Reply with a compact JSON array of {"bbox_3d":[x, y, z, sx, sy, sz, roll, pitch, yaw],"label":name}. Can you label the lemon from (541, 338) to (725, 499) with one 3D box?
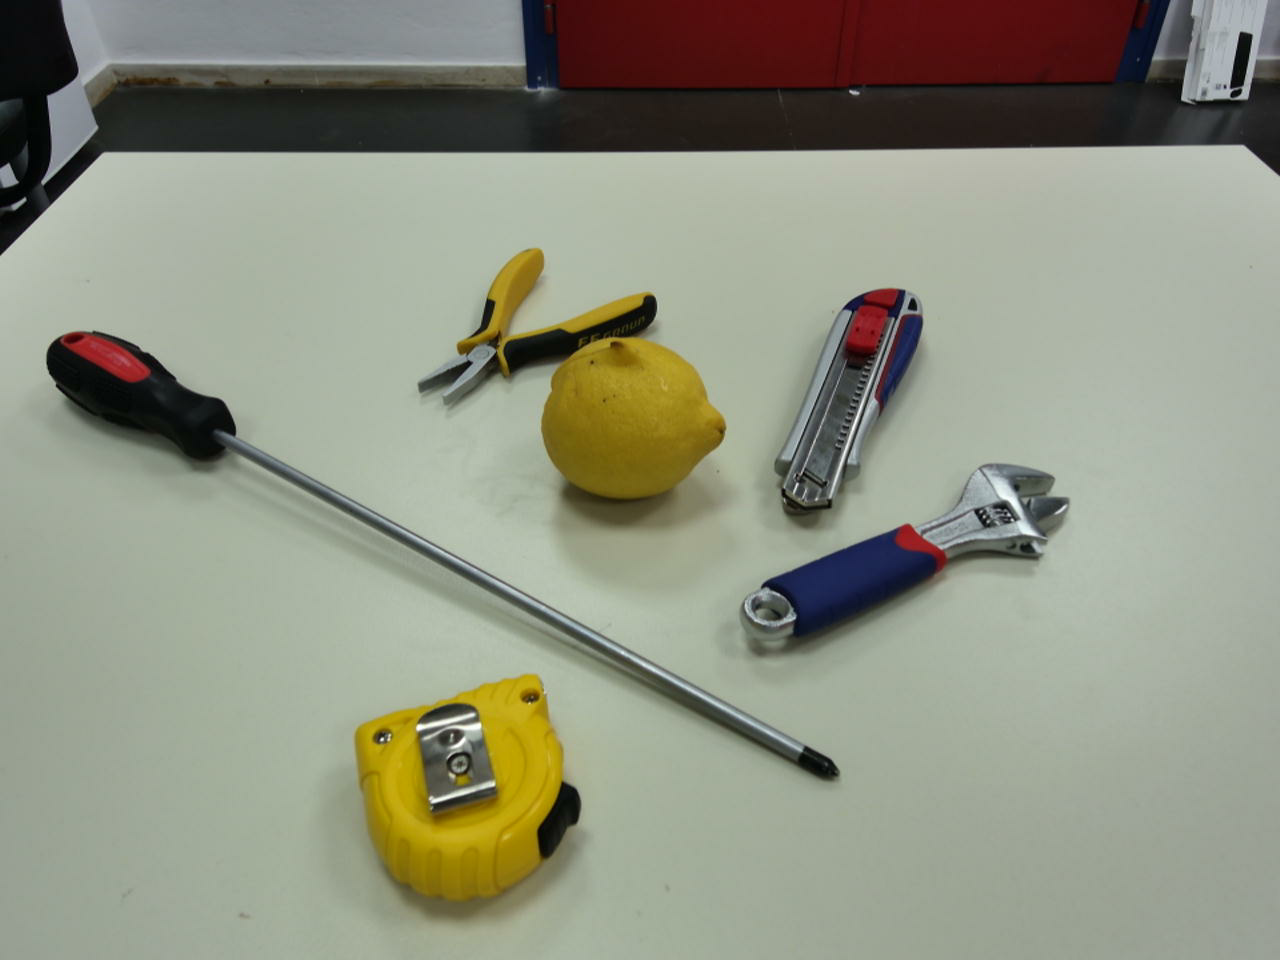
[{"bbox_3d":[-0.006,-0.029,0.421,0.070,0.071,0.071,-21,44,-26],"label":"lemon"}]
